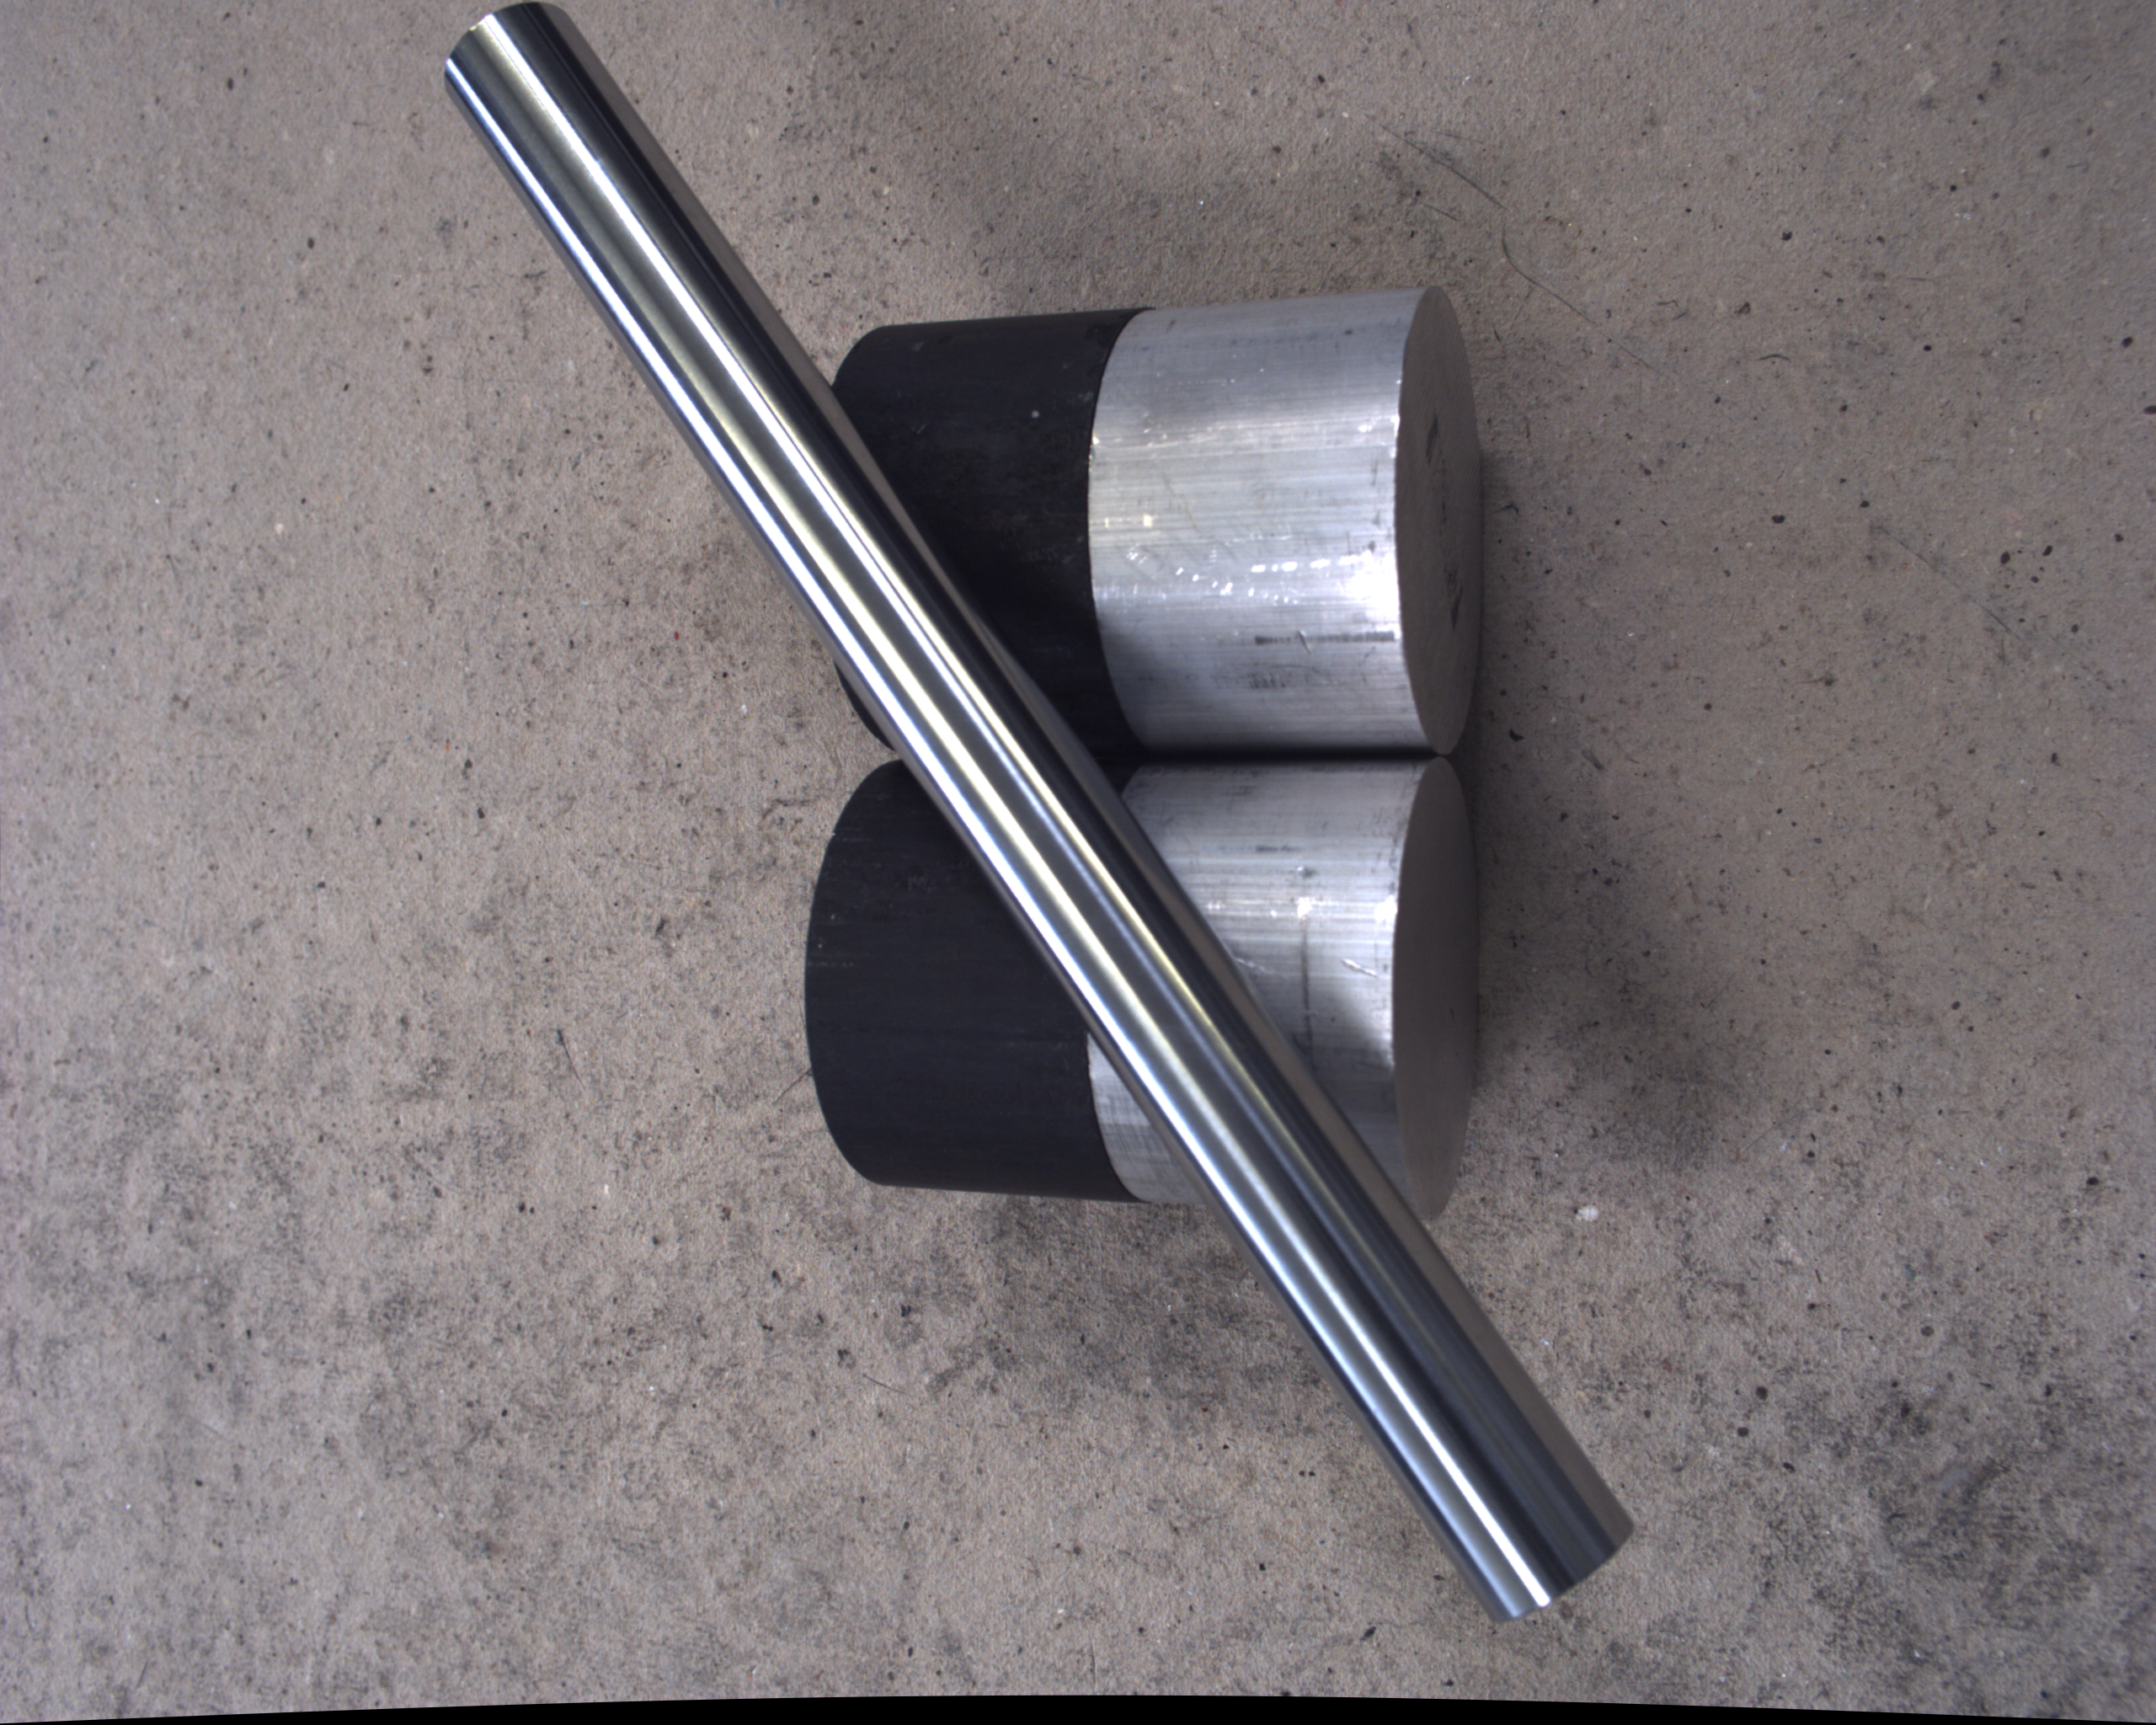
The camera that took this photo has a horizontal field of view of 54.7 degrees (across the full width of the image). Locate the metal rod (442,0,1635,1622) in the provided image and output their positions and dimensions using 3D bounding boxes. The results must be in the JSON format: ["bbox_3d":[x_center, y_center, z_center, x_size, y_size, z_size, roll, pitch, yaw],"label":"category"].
[{"bbox_3d":[-0.014,-0.018,0.330,0.025,0.025,0.299,-38,78,16],"label":"metal rod"}]

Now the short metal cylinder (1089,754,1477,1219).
[{"bbox_3d":[0.039,0.021,0.367,0.050,0.080,0.079,1,90,20],"label":"short metal cylinder"}]

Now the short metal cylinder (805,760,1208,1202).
[{"bbox_3d":[-0.009,0.021,0.384,0.050,0.080,0.079,1,90,20],"label":"short metal cylinder"}]

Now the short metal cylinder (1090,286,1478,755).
[{"bbox_3d":[0.039,-0.059,0.367,0.050,0.080,0.079,1,90,20],"label":"short metal cylinder"}]

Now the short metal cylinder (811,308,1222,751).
[{"bbox_3d":[-0.008,-0.060,0.384,0.050,0.080,0.079,1,90,20],"label":"short metal cylinder"}]
